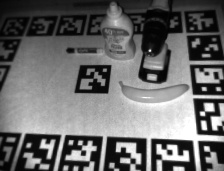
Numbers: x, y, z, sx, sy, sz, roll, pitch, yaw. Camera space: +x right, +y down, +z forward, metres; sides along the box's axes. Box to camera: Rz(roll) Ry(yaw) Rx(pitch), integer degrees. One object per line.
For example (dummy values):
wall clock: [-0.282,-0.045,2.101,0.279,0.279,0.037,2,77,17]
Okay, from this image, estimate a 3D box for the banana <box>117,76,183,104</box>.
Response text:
banana: [0.102,0.018,0.627,0.196,0.039,0.074,8,66,13]

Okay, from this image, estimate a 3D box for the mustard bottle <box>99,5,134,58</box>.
mustard bottle: [0.012,-0.156,0.638,0.095,0.193,0.058,11,65,13]

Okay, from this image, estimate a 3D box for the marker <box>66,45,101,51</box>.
marker: [-0.100,-0.128,0.736,0.120,0.020,0.019,3,64,9]

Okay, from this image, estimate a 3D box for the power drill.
power drill: [0.107,-0.104,0.580,0.057,0.188,0.184,14,63,14]
